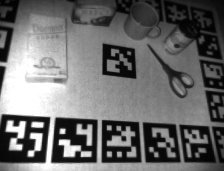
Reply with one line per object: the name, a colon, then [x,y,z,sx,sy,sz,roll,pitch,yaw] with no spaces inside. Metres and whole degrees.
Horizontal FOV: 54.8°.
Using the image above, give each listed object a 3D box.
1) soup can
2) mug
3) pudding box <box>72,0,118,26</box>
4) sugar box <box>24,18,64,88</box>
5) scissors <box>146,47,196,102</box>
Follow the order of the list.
soup can: [0.205,-0.145,0.672,0.068,0.101,0.067,6,69,-15]
mug: [0.092,-0.190,0.652,0.094,0.081,0.117,-34,83,-22]
pudding box: [-0.049,-0.203,0.601,0.115,0.089,0.038,-5,80,-20]
sugar box: [-0.170,-0.082,0.551,0.093,0.045,0.176,1,73,-16]
scissors: [0.175,-0.045,0.665,0.088,0.016,0.202,-40,89,-16]
